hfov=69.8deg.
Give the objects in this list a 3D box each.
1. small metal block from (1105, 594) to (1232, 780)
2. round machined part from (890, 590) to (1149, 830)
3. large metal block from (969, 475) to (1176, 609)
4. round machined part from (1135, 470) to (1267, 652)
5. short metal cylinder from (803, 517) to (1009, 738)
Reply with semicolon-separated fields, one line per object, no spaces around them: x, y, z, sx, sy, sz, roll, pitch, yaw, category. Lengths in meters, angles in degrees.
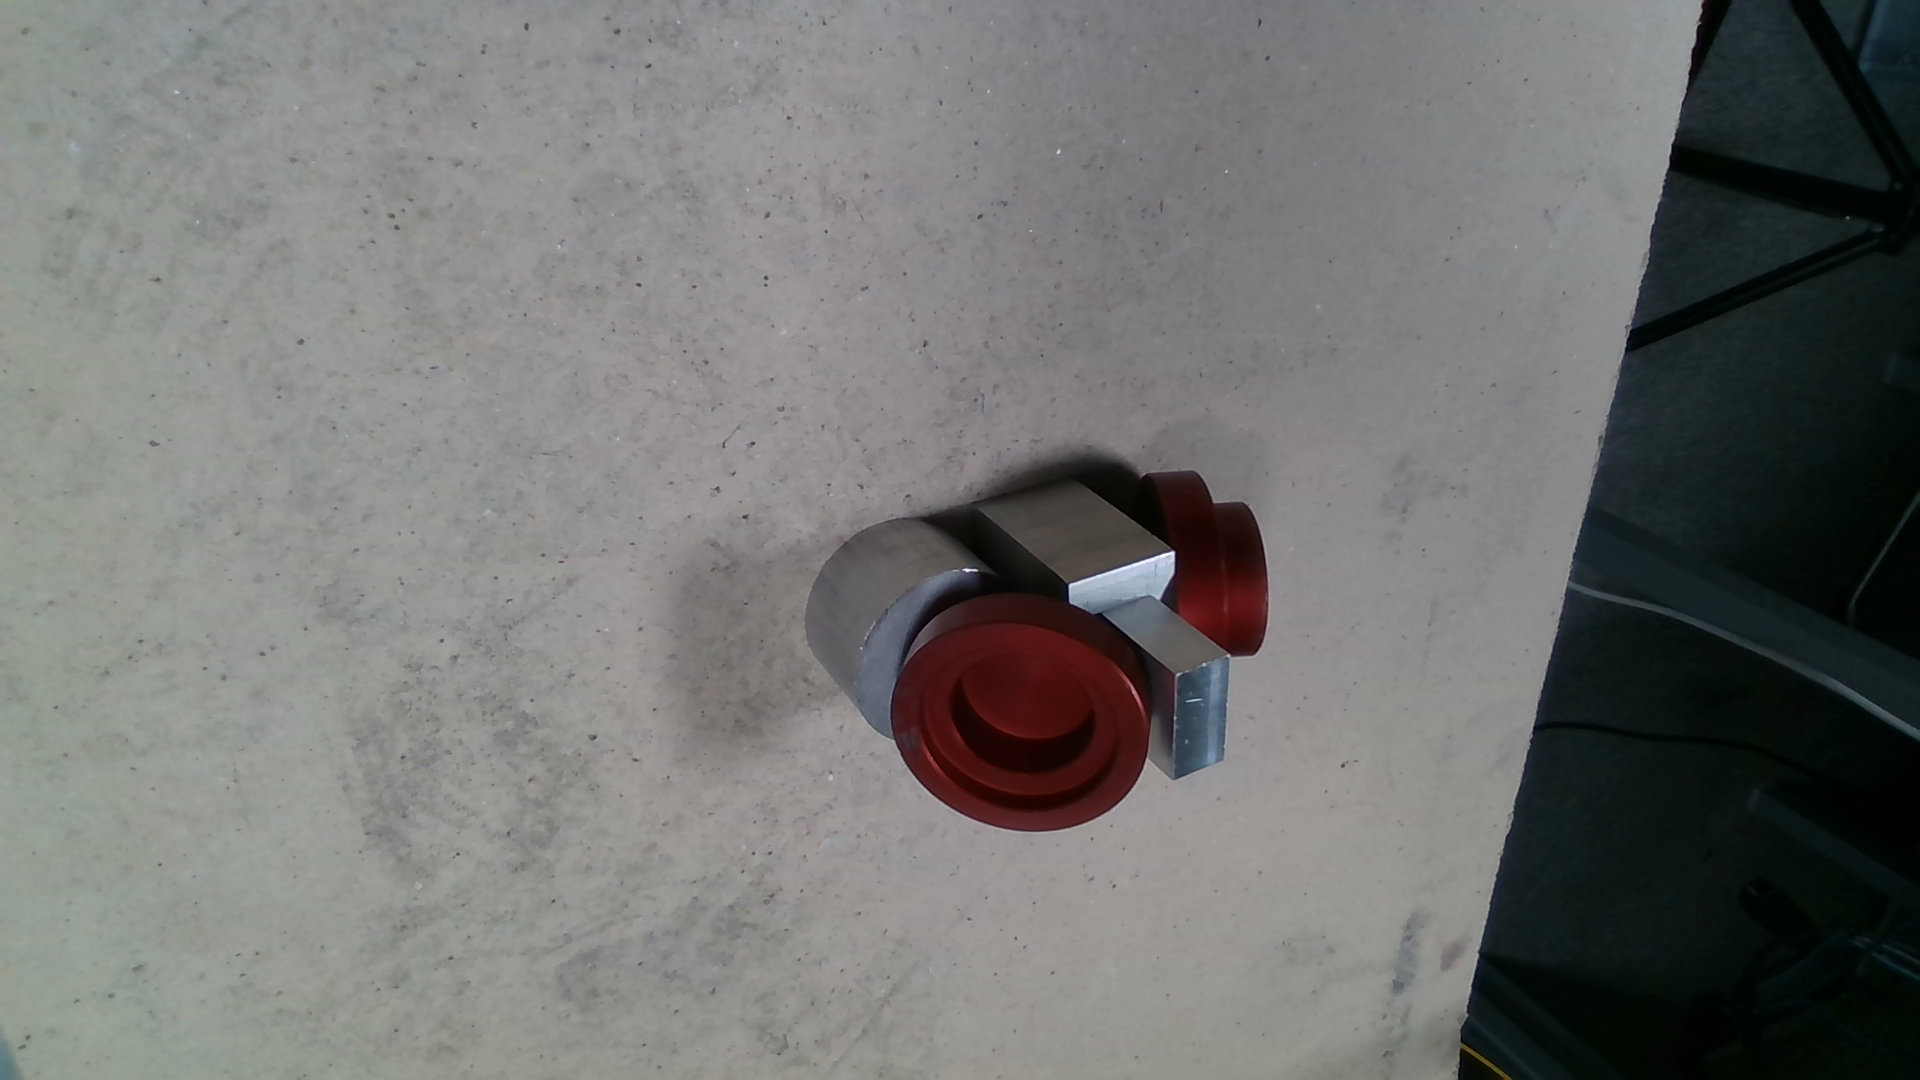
0.080;0.057;0.540;0.025;0.050;0.050;-17;122;-24;small metal block
0.025;0.061;0.533;0.098;0.042;0.098;5;120;9;round machined part
0.046;0.029;0.588;0.050;0.080;0.080;-16;122;-24;large metal block
0.105;0.018;0.603;0.042;0.098;0.098;-4;119;-2;round machined part
-0.019;0.037;0.574;0.080;0.050;0.080;-14;122;-25;short metal cylinder
